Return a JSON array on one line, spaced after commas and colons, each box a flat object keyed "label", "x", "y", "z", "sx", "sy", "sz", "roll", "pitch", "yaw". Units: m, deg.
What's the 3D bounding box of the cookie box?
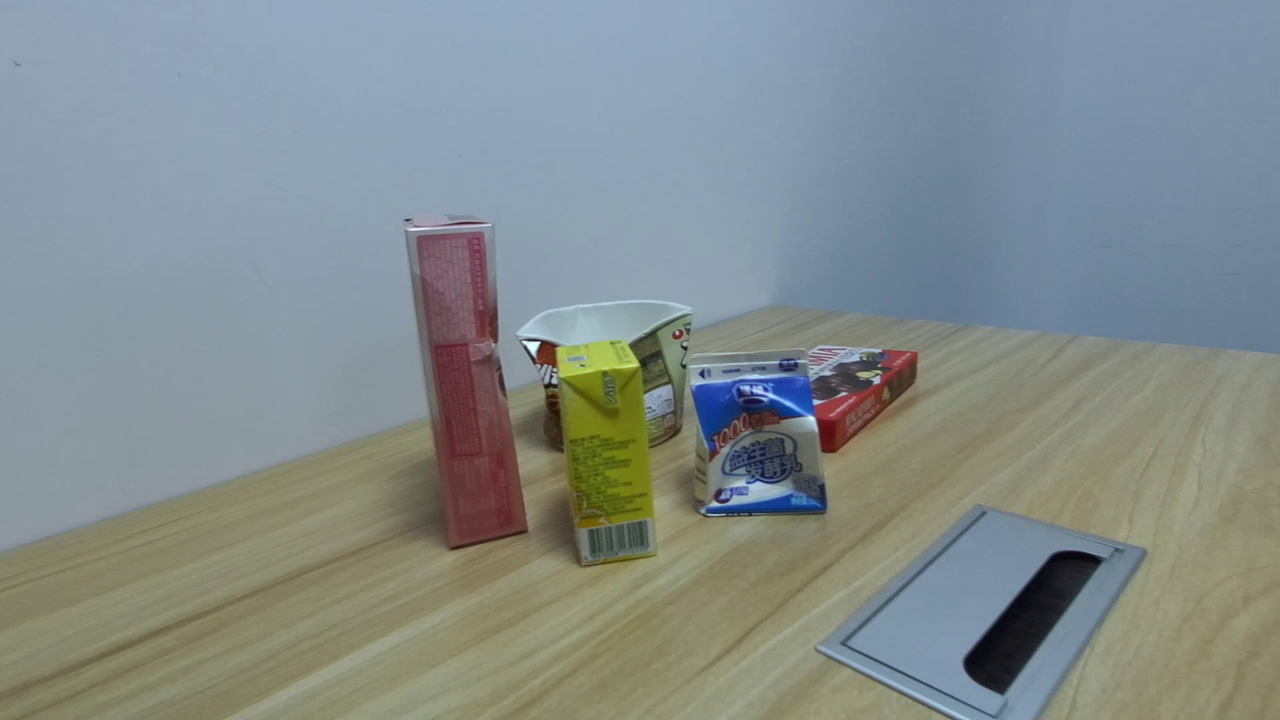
[{"label": "cookie box", "x": -0.104, "y": 0.007, "z": 0.428, "sx": 0.049, "sy": 0.187, "sz": 0.105, "roll": -8, "pitch": 15, "yaw": -14}]

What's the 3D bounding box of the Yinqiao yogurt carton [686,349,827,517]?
[{"label": "Yinqiao yogurt carton", "x": 0.070, "y": 0.039, "z": 0.428, "sx": 0.077, "sy": 0.094, "sz": 0.071, "roll": -4, "pitch": 20, "yaw": 8}]

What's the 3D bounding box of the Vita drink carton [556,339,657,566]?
[{"label": "Vita drink carton", "x": -0.020, "y": 0.049, "z": 0.394, "sx": 0.043, "sy": 0.109, "sz": 0.066, "roll": -7, "pitch": 16, "yaw": -7}]
